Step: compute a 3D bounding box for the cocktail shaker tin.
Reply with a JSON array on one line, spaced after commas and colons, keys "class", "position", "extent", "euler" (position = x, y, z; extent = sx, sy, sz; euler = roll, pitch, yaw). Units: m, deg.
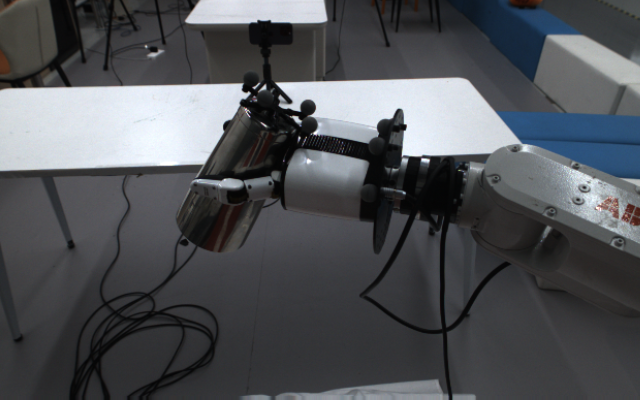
[{"class": "cocktail shaker tin", "position": [-0.092, -0.034, 0.562], "extent": [0.093, 0.170, 0.093], "euler": [26, 32, -18]}]
